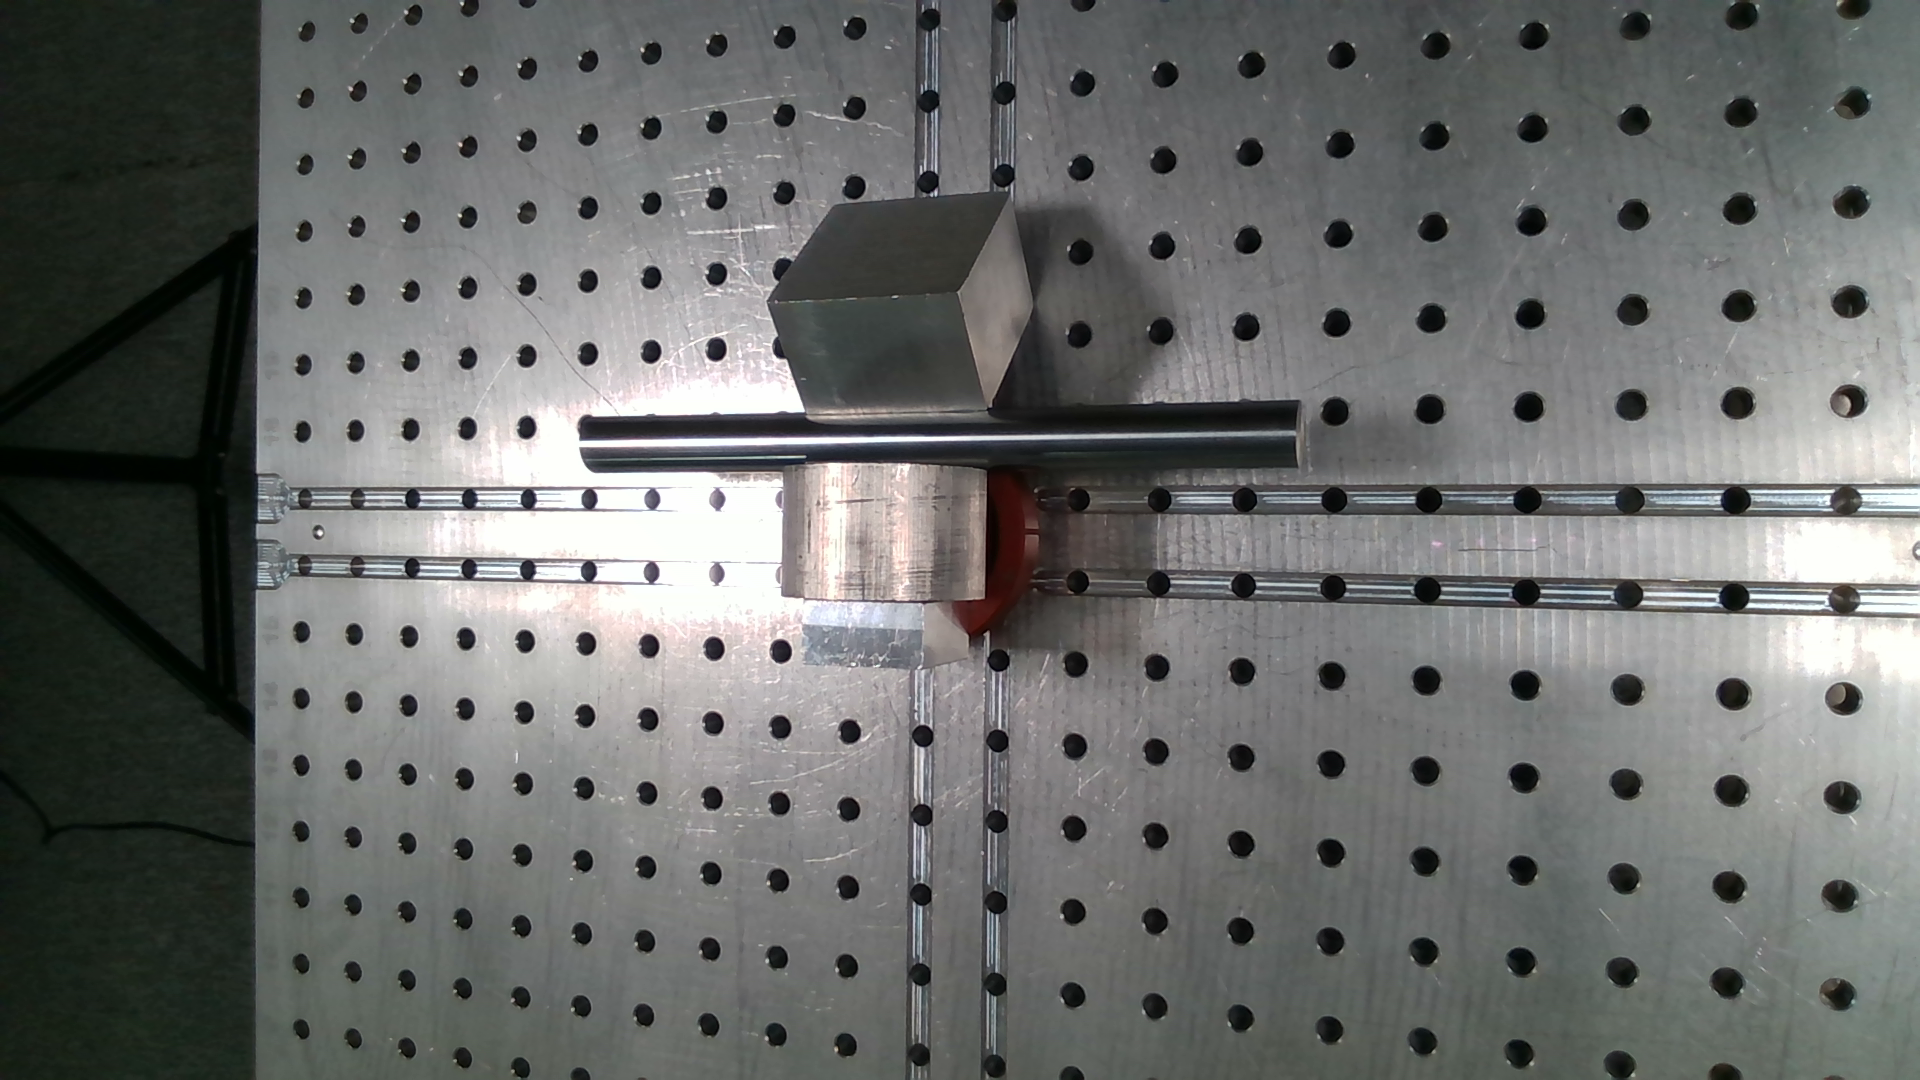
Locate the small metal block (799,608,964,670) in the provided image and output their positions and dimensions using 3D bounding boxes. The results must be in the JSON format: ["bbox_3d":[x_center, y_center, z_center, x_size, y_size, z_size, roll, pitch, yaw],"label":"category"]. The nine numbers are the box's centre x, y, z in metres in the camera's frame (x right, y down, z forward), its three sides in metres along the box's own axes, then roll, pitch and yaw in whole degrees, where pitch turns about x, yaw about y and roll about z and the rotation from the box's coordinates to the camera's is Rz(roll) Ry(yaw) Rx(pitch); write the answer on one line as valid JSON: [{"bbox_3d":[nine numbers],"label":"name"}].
[{"bbox_3d":[-0.029,0.035,0.541,0.050,0.050,0.025,1,91,20],"label":"small metal block"}]

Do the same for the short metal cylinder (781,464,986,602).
[{"bbox_3d":[-0.030,-0.003,0.538,0.080,0.080,0.050,1,91,20],"label":"short metal cylinder"}]

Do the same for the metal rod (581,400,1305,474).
[{"bbox_3d":[-0.017,-0.040,0.550,0.300,0.025,0.025,1,91,20],"label":"metal rod"}]

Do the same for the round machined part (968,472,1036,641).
[{"bbox_3d":[-0.014,-0.002,0.583,0.098,0.042,0.098,0,91,20],"label":"round machined part"}]

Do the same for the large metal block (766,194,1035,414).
[{"bbox_3d":[-0.021,-0.096,0.559,0.080,0.080,0.050,1,132,20],"label":"large metal block"}]
